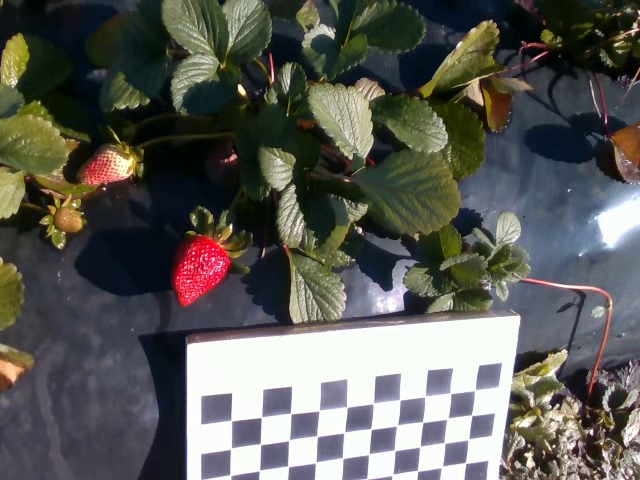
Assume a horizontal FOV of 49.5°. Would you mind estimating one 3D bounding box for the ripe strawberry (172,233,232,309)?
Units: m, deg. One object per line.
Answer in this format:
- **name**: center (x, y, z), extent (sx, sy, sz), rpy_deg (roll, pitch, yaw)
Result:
- **ripe strawberry**: center (-0.093, 0.023, 0.506), extent (0.058, 0.066, 0.061), rpy_deg (-33, 30, 25)
